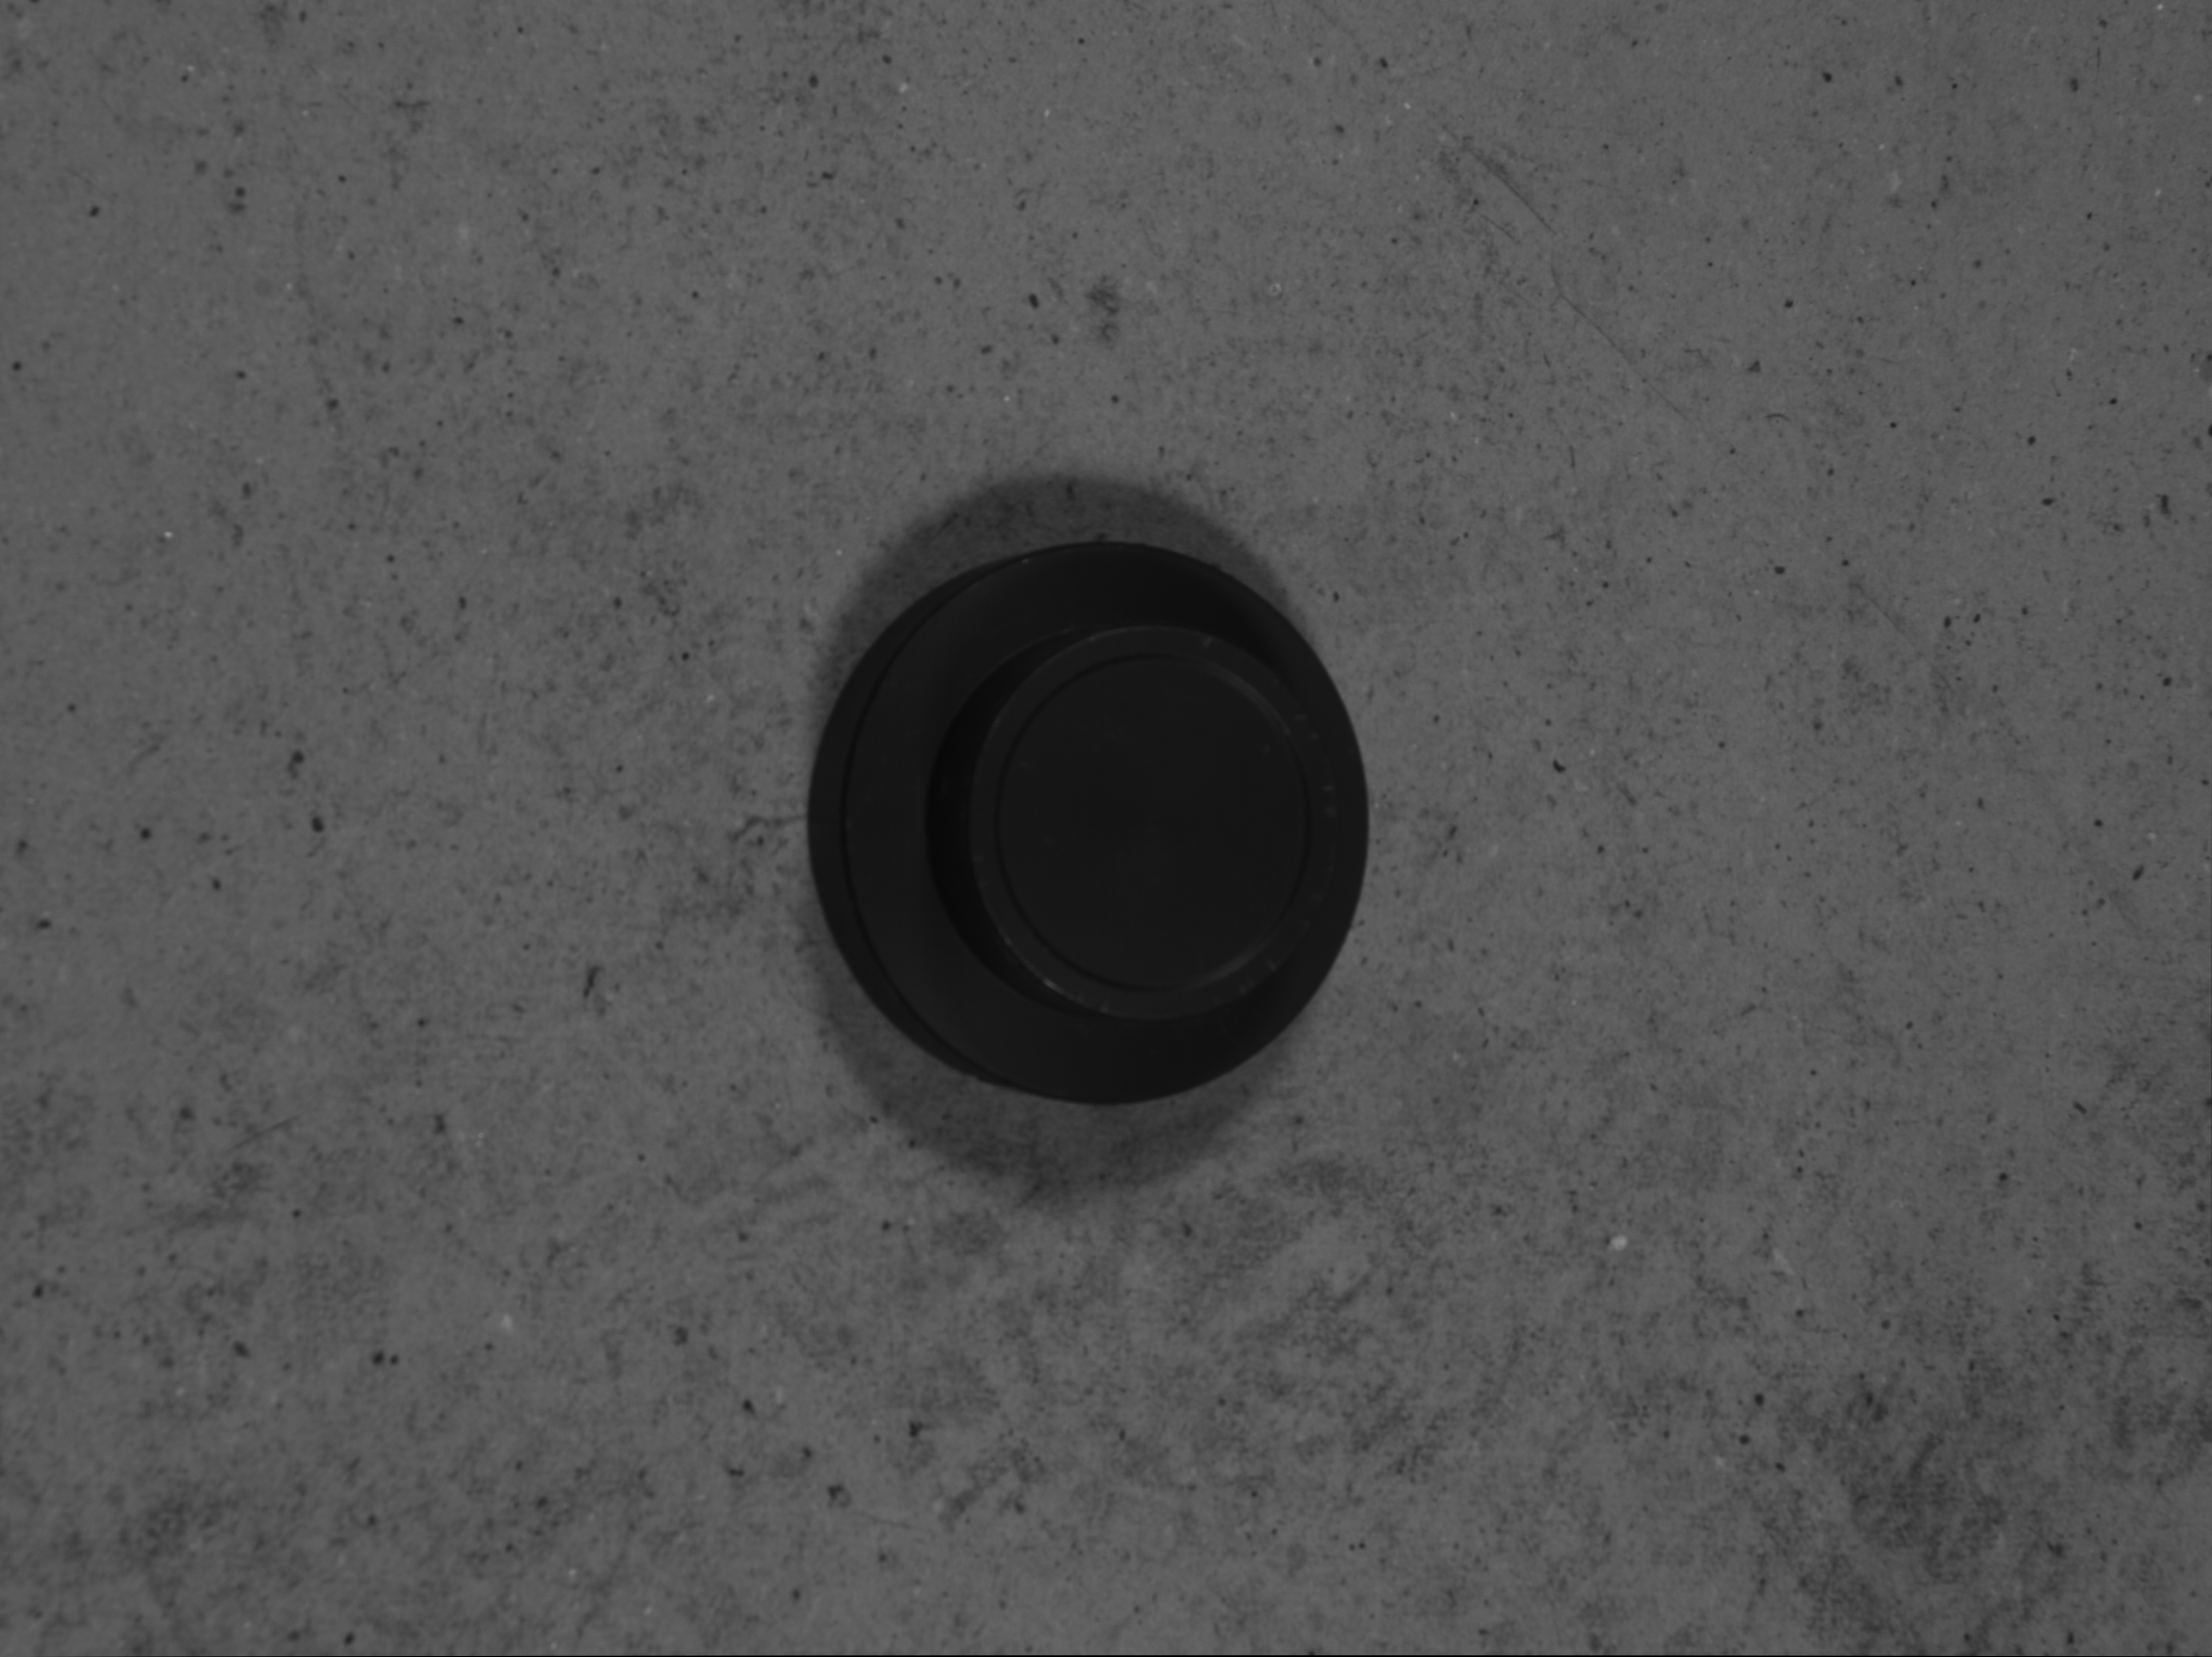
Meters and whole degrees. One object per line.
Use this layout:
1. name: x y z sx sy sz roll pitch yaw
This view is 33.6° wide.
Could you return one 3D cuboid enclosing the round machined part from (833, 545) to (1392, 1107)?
1. round machined part: 0.005 0.000 0.636 0.098 0.042 0.098 0 90 -20
